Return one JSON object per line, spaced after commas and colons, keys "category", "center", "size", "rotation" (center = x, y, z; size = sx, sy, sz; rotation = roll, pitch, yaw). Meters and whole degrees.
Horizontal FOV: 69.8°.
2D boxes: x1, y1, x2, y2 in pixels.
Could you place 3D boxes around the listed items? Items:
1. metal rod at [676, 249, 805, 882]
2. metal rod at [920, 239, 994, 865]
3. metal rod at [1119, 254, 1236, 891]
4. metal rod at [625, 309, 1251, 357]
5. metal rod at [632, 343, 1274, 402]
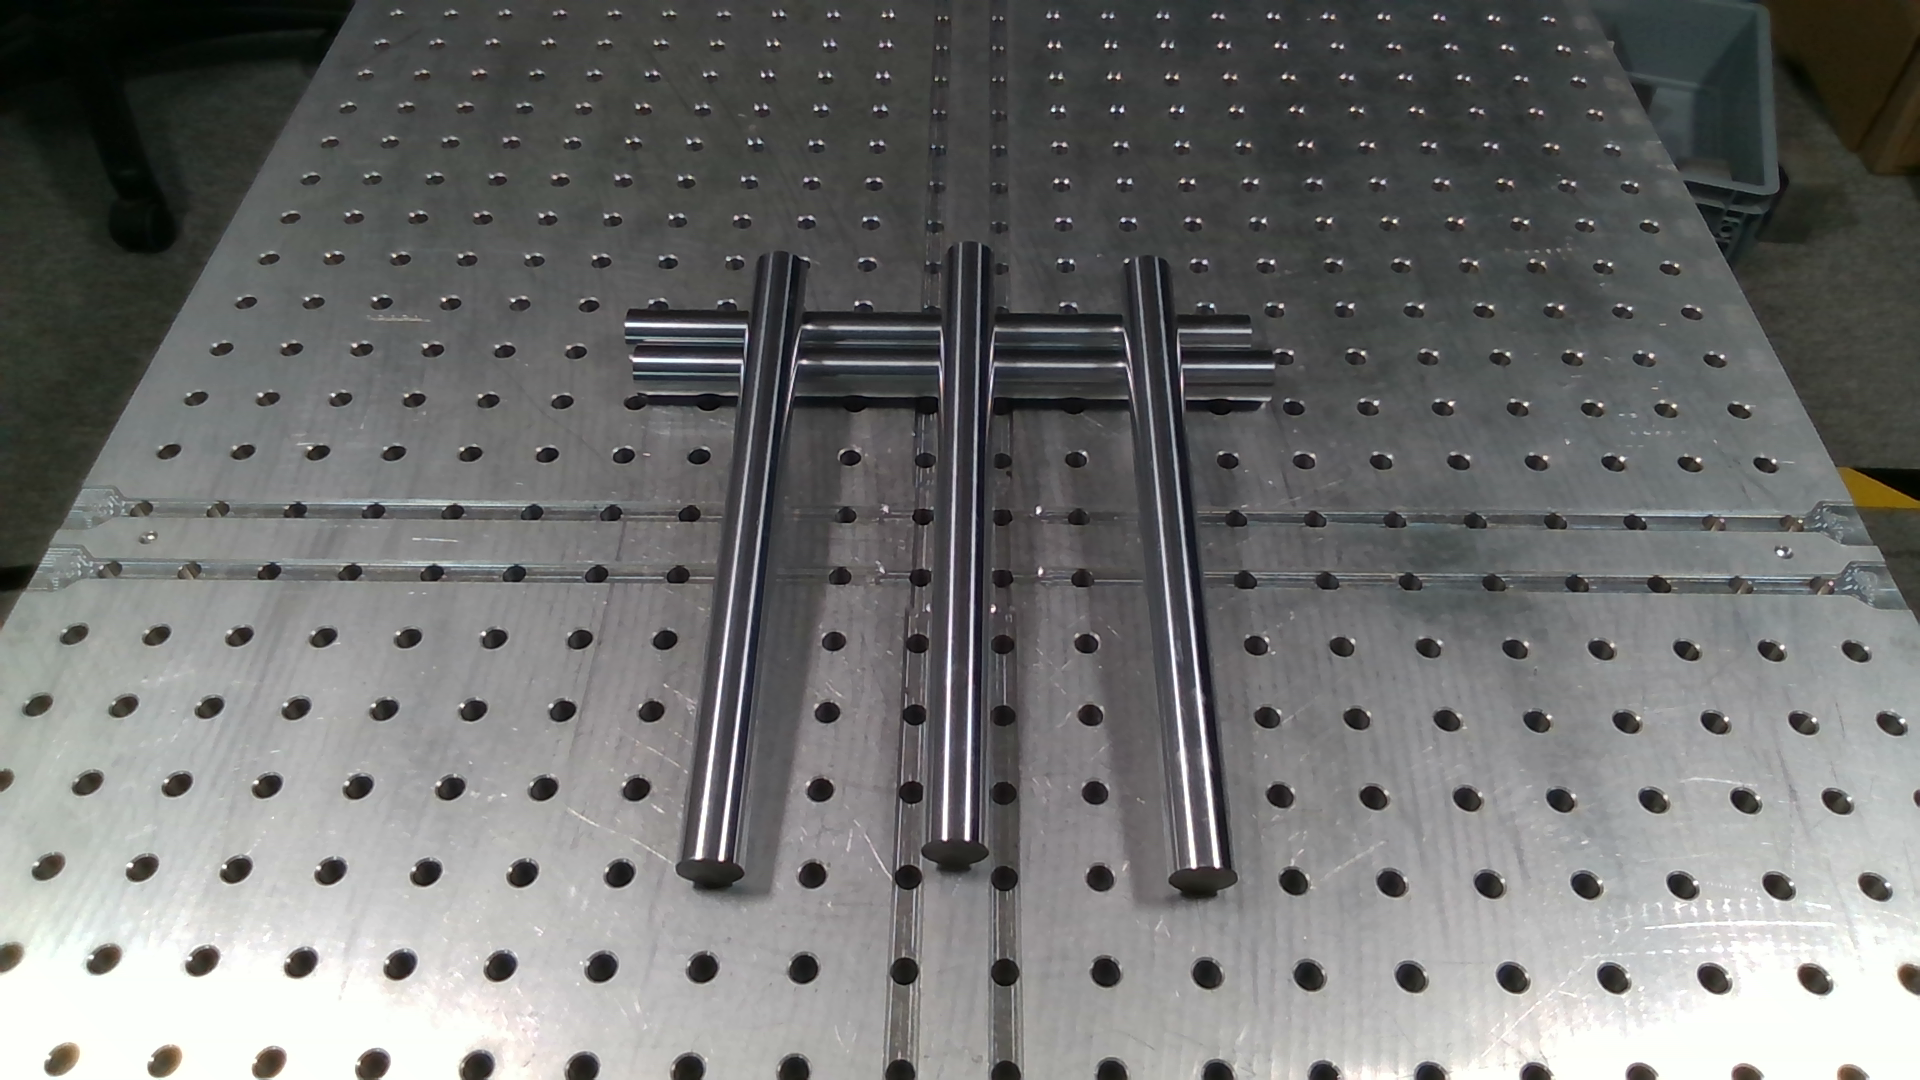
{"category": "metal rod", "center": [-0.088, -0.006, 0.576], "size": [0.025, 0.025, 0.299], "rotation": [0, 56, 0]}
{"category": "metal rod", "center": [0.001, -0.011, 0.580], "size": [0.025, 0.025, 0.299], "rotation": [1, 56, 1]}
{"category": "metal rod", "center": [0.087, -0.003, 0.574], "size": [0.025, 0.025, 0.299], "rotation": [0, 56, 0]}
{"category": "metal rod", "center": [-0.011, -0.099, 0.672], "size": [0.300, 0.025, 0.025], "rotation": [1, 50, 1]}
{"category": "metal rod", "center": [-0.003, -0.080, 0.656], "size": [0.300, 0.025, 0.025], "rotation": [1, 50, 1]}
